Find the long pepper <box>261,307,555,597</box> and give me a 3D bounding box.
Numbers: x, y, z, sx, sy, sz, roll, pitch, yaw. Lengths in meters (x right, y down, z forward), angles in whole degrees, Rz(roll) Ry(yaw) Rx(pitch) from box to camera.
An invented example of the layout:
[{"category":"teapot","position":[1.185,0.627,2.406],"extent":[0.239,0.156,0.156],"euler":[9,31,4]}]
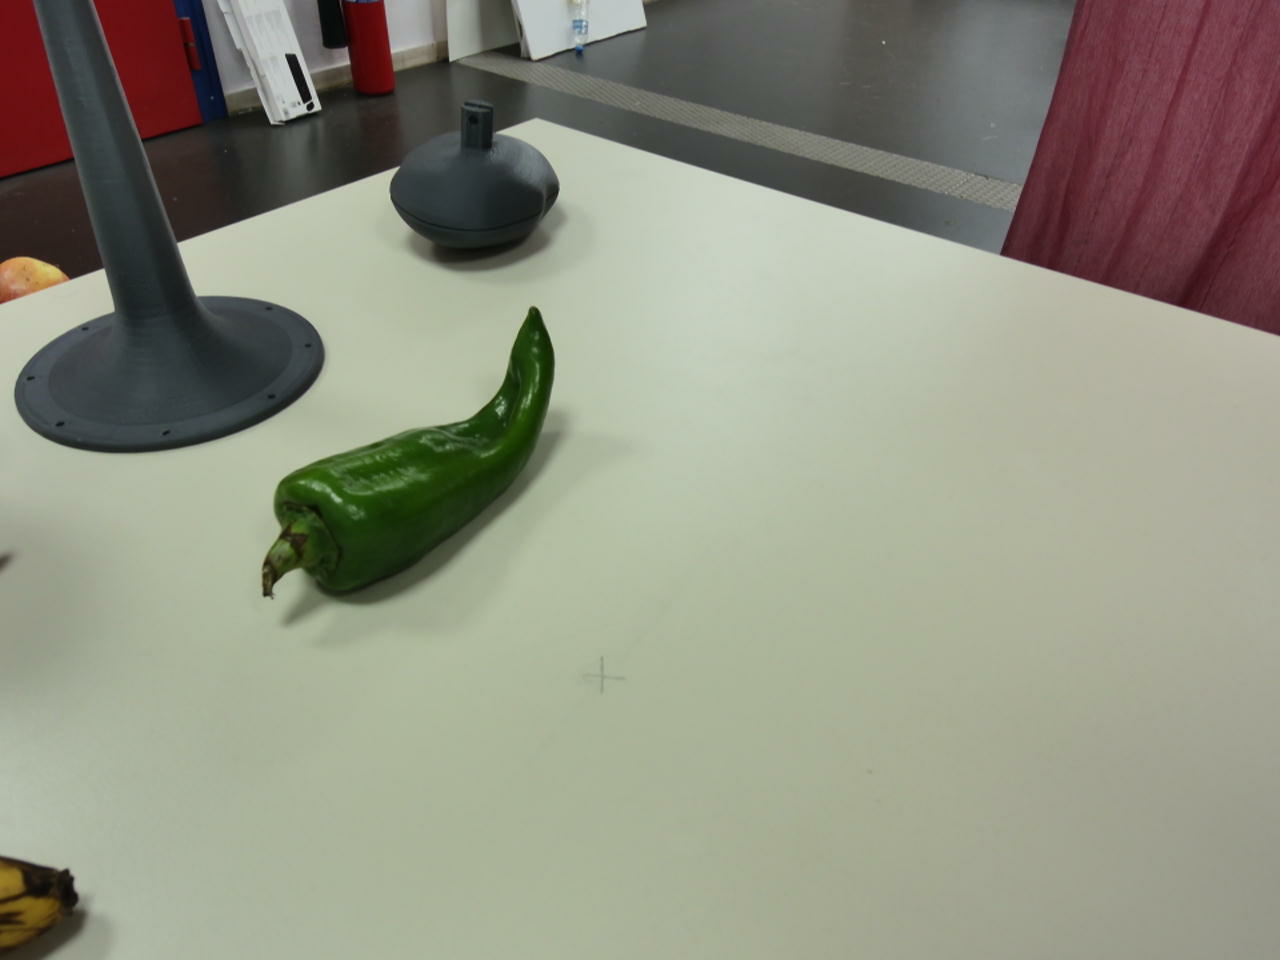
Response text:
[{"category":"long pepper","position":[-0.088,-0.011,0.417],"extent":[0.058,0.065,0.175],"euler":[24,42,28]}]
